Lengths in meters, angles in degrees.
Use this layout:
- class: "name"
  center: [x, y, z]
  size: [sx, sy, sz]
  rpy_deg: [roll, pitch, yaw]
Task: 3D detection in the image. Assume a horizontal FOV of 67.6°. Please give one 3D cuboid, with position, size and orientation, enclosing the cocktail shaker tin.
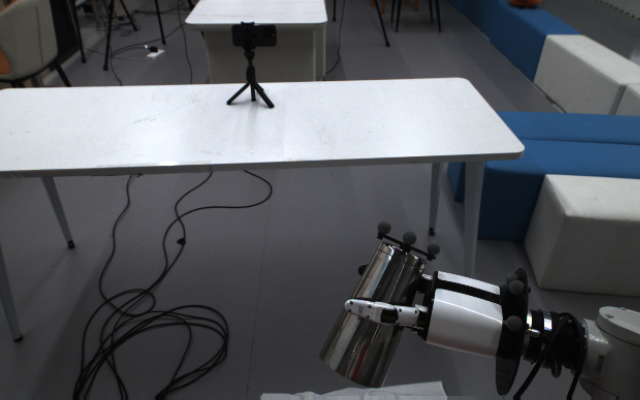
- class: "cocktail shaker tin"
  center: [0.078, 0.142, 0.638]
  size: [0.093, 0.170, 0.093]
  rpy_deg: [23, 0, 0]
